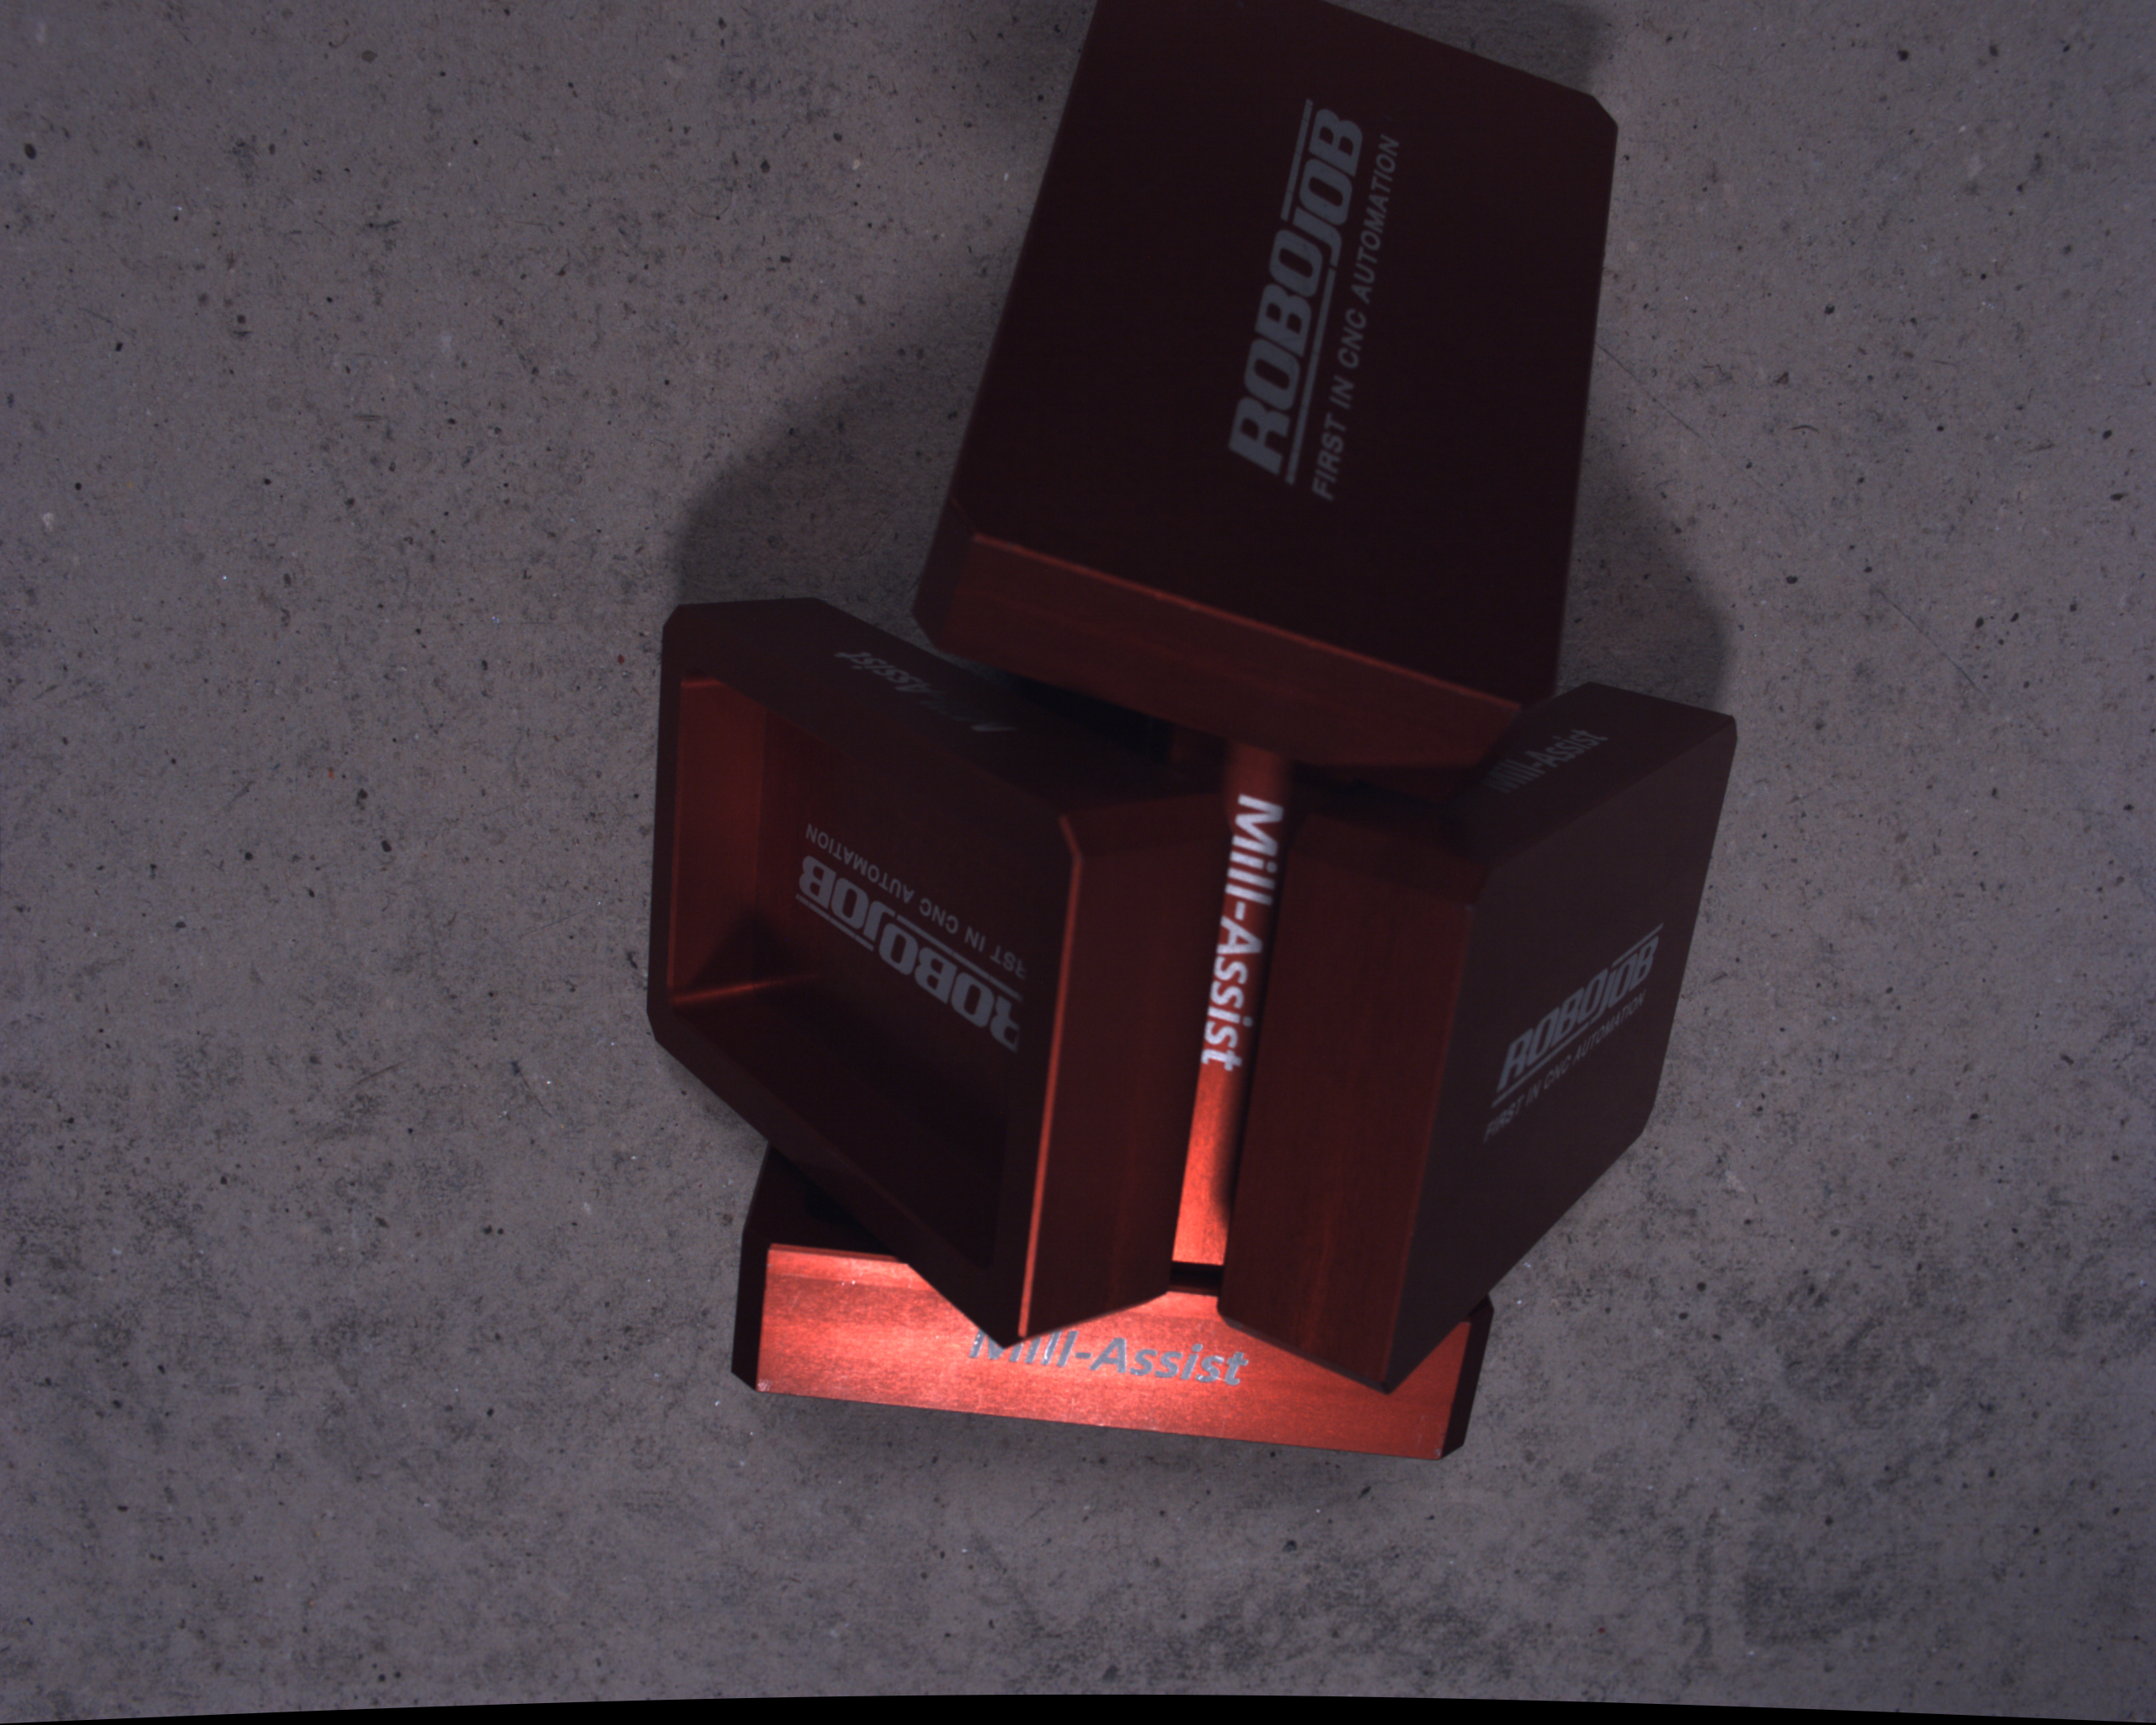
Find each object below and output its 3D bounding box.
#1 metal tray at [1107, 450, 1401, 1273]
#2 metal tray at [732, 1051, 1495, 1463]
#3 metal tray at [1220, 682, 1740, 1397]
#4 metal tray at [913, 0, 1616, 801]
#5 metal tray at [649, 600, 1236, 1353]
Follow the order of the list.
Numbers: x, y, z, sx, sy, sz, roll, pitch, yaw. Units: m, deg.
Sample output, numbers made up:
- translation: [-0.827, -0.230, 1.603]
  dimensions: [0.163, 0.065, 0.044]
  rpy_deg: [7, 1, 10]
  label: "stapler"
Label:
- translation: [0.026, -0.004, 0.375]
  dimensions: [0.030, 0.090, 0.129]
  rpy_deg: [7, 110, -3]
  label: "metal tray"
- translation: [0.006, 0.070, 0.402]
  dimensions: [0.131, 0.090, 0.030]
  rpy_deg: [7, 110, -3]
  label: "metal tray"
- translation: [0.075, 0.024, 0.368]
  dimensions: [0.030, 0.131, 0.089]
  rpy_deg: [18, 113, 29]
  label: "metal tray"
- translation: [0.034, -0.082, 0.332]
  dimensions: [0.091, 0.130, 0.030]
  rpy_deg: [17, 150, -7]
  label: "metal tray"
- translation: [-0.031, 0.013, 0.364]
  dimensions: [0.030, 0.130, 0.089]
  rpy_deg: [-9, 115, -36]
  label: "metal tray"
